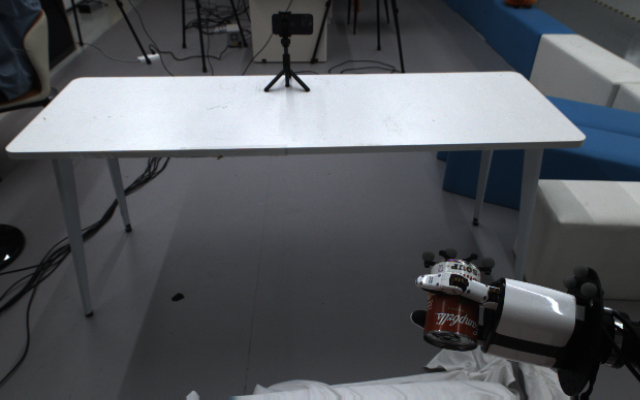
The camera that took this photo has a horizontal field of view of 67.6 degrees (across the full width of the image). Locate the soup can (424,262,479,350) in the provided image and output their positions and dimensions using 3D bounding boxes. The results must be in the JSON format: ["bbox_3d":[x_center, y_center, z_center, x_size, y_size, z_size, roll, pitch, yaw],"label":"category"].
[{"bbox_3d":[0.177,0.137,0.635,0.067,0.067,0.101,9,59,10],"label":"soup can"}]
